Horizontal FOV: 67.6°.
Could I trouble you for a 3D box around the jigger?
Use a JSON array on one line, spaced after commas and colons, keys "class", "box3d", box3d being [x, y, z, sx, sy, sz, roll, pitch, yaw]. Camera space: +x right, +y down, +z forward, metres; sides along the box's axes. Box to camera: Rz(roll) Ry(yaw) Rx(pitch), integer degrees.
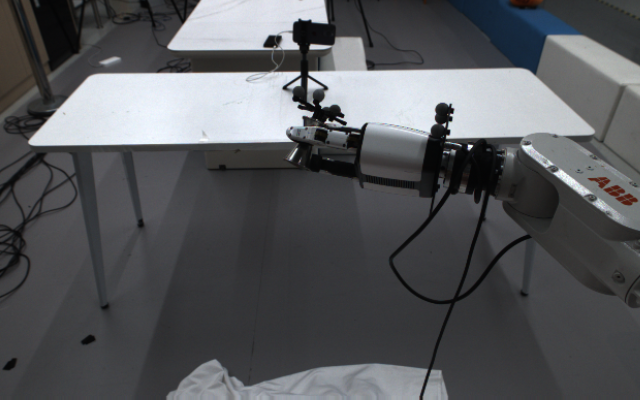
[{"class": "jigger", "box3d": [-0.021, -0.082, 0.688, 0.043, 0.071, 0.043, 24, -2, 1]}]
